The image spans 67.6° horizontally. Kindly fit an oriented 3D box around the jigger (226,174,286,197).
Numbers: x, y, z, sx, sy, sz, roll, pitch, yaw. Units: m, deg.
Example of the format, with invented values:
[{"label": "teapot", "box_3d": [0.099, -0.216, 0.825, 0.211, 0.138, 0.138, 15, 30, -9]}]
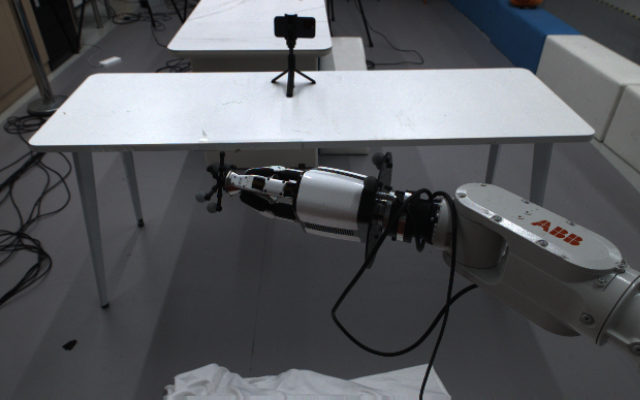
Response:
[{"label": "jigger", "box_3d": [-0.091, -0.024, 0.694, 0.071, 0.043, 0.043, 7, 35, 15]}]
